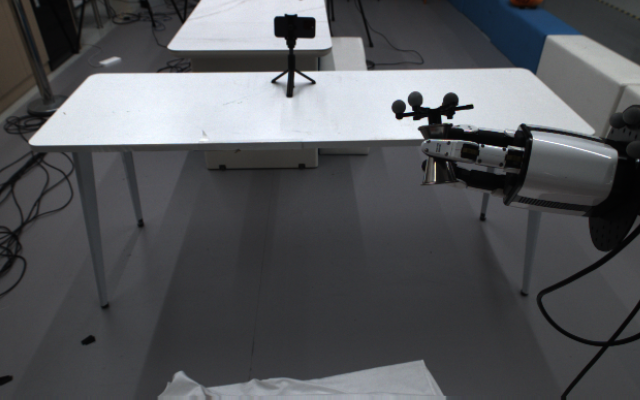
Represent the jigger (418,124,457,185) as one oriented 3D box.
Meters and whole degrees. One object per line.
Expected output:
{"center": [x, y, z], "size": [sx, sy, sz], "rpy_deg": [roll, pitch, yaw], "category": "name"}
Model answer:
{"center": [0.136, -0.053, 0.566], "size": [0.043, 0.071, 0.043], "rpy_deg": [-4, 1, 0], "category": "jigger"}
